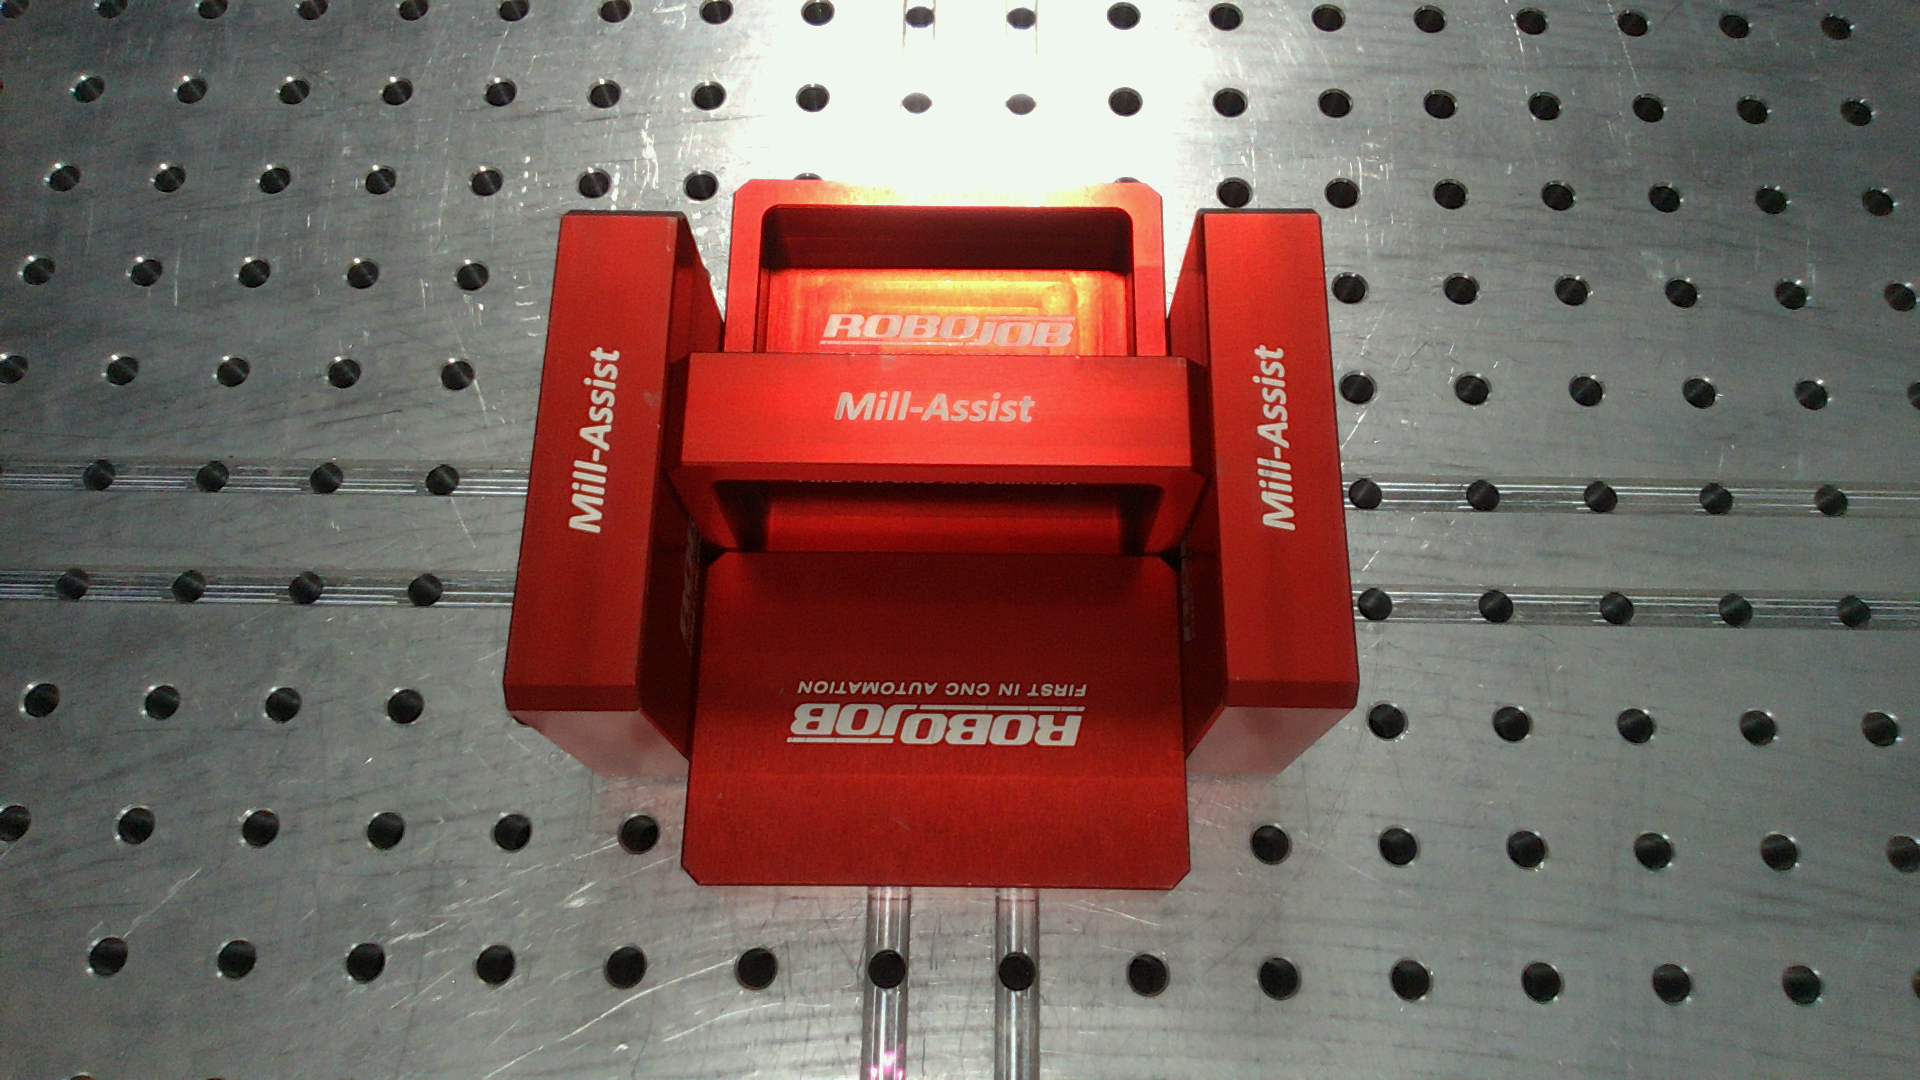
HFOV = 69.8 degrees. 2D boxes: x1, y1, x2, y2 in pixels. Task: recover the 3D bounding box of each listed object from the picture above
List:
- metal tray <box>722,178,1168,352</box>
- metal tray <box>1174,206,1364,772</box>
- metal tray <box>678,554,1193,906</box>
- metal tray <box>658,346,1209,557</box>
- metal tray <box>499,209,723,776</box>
[{"bbox_3d":[-0.004,-0.063,0.417,0.130,0.030,0.090,1,70,0],"label":"metal tray"},{"bbox_3d":[0.075,-0.010,0.366,0.030,0.090,0.130,1,70,1],"label":"metal tray"},{"bbox_3d":[-0.006,0.051,0.374,0.130,0.030,0.090,1,70,0],"label":"metal tray"},{"bbox_3d":[-0.006,-0.017,0.367,0.130,0.090,0.030,1,70,0],"label":"metal tray"},{"bbox_3d":[-0.086,-0.009,0.365,0.030,0.090,0.130,1,70,1],"label":"metal tray"}]
